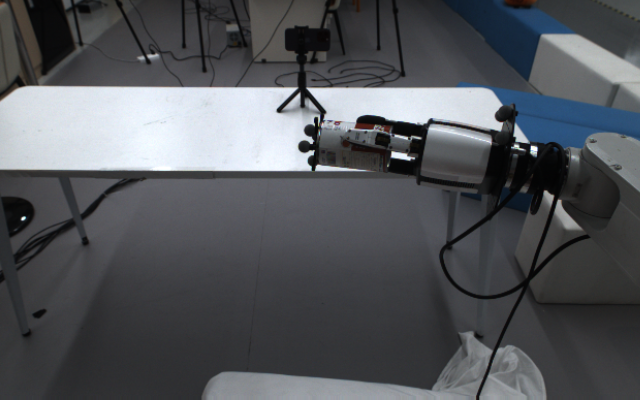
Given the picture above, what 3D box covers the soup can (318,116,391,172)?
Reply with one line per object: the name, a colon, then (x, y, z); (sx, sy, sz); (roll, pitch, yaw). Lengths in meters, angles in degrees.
soup can: (0.052, -0.079, 0.698); (0.101, 0.067, 0.067); (7, 35, 11)
